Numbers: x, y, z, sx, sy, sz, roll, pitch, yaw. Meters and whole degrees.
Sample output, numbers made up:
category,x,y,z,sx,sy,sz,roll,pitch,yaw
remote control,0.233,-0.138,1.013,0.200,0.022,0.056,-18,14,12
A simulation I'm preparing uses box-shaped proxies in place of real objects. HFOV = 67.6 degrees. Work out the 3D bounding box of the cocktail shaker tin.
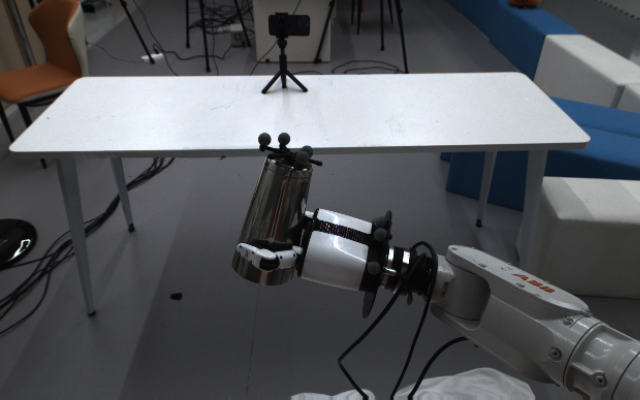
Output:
category,x,y,z,sx,sy,sz,roll,pitch,yaw
cocktail shaker tin,-0.063,0.023,0.684,0.093,0.170,0.093,14,20,-5
